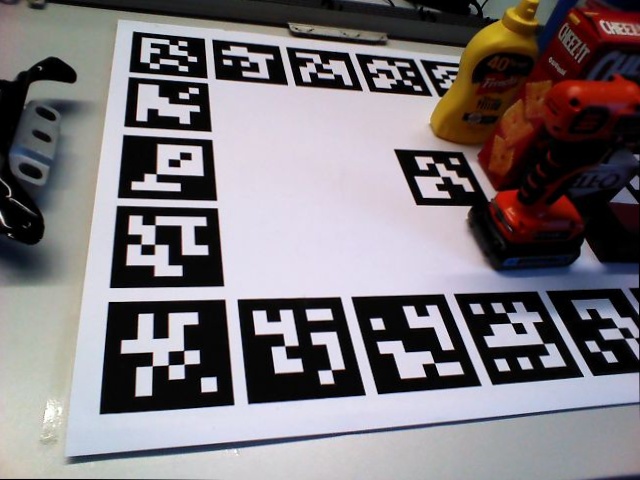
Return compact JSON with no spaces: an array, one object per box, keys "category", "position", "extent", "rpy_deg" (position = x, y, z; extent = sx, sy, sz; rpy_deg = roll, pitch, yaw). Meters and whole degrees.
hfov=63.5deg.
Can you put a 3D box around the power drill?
[{"category":"power drill","position":[0.277,-0.068,0.506],"extent":[0.184,0.188,0.057],"rpy_deg":[0,48,-15]}]

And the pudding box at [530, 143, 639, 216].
[{"category":"pudding box","position":[0.315,-0.072,0.611],"extent":[0.114,0.090,0.038],"rpy_deg":[0,50,-11]}]

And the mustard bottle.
[{"category":"mustard bottle","position":[0.227,-0.220,0.647],"extent":[0.096,0.192,0.058],"rpy_deg":[11,51,-5]}]

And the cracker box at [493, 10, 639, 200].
[{"category":"cracker box","position":[0.326,-0.143,0.601],"extent":[0.164,0.215,0.071],"rpy_deg":[-2,51,-13]}]

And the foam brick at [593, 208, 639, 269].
[{"category":"foam brick","position":[0.373,0.000,0.611],"extent":[0.078,0.051,0.052],"rpy_deg":[3,53,-12]}]

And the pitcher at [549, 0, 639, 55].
[{"category":"pitcher","position":[0.359,-0.225,0.669],"extent":[0.189,0.244,0.132],"rpy_deg":[5,51,-8]}]
